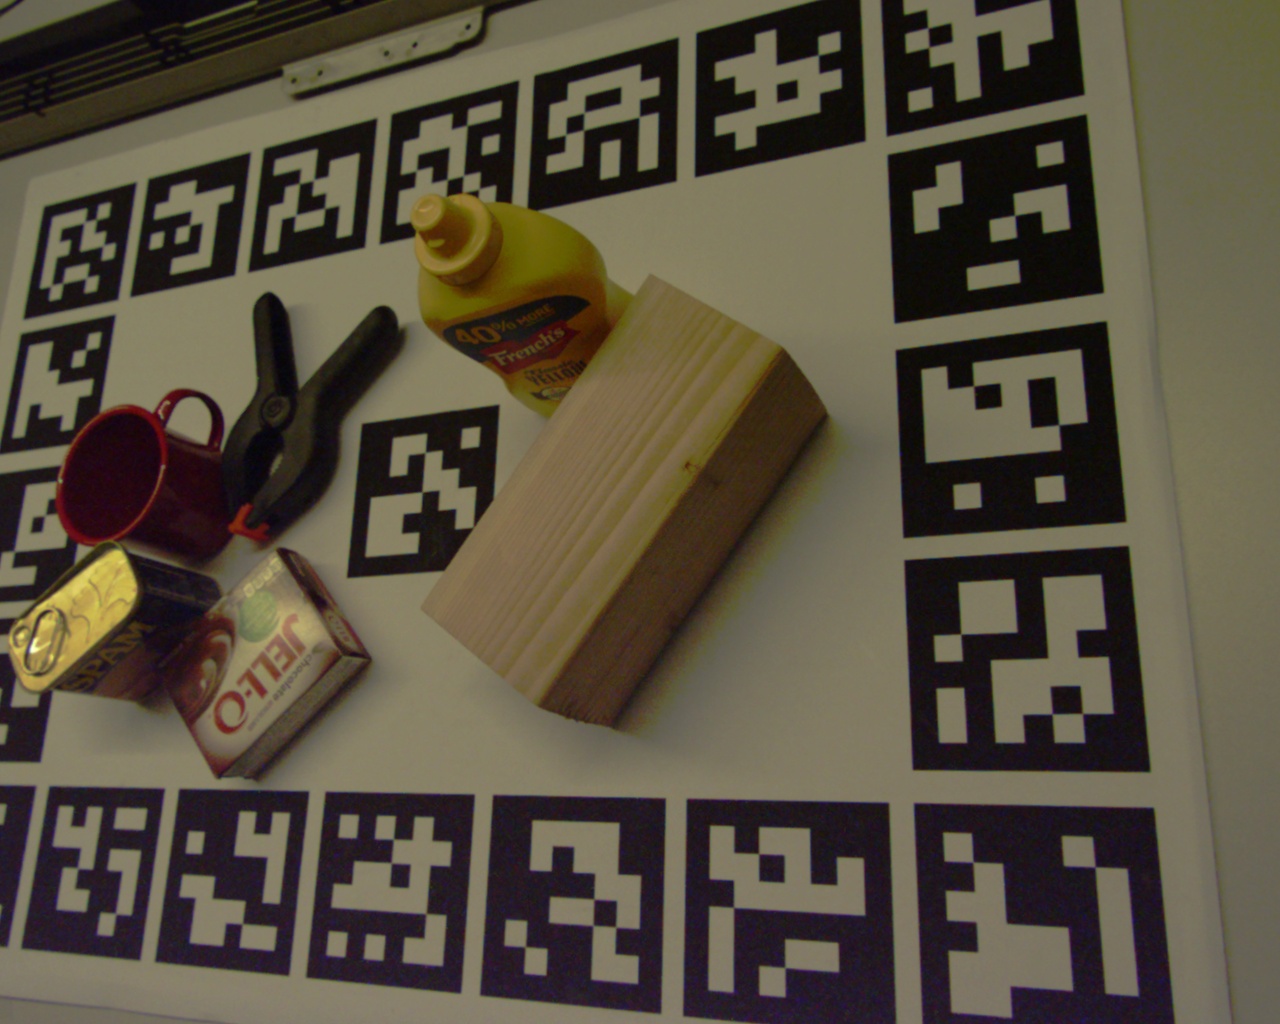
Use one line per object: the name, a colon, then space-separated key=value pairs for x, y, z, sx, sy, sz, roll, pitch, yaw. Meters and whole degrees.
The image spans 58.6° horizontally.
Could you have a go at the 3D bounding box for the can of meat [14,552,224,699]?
can of meat: x=-0.335 y=0.078 z=0.743 sx=0.102 sy=0.083 sz=0.058 roll=-36 pitch=66 yaw=11

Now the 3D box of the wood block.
wood block: x=-0.009 y=0.004 z=0.623 sx=0.091 sy=0.090 sz=0.206 roll=35 pitch=90 yaw=29

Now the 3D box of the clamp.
clamp: x=-0.234 y=-0.065 z=0.774 sx=0.123 sy=0.036 sz=0.165 roll=15 pitch=84 yaw=25

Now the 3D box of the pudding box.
pudding box: x=-0.234 y=0.097 z=0.723 sx=0.114 sy=0.038 sz=0.091 roll=-44 pitch=64 yaw=6

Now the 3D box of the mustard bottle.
mustard bottle: x=-0.068 y=-0.106 z=0.617 sx=0.097 sy=0.189 sz=0.058 roll=-11 pitch=73 yaw=21

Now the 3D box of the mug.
mug: x=-0.313 y=-0.020 z=0.791 sx=0.094 sy=0.080 sz=0.117 roll=19 pitch=86 yaw=27
